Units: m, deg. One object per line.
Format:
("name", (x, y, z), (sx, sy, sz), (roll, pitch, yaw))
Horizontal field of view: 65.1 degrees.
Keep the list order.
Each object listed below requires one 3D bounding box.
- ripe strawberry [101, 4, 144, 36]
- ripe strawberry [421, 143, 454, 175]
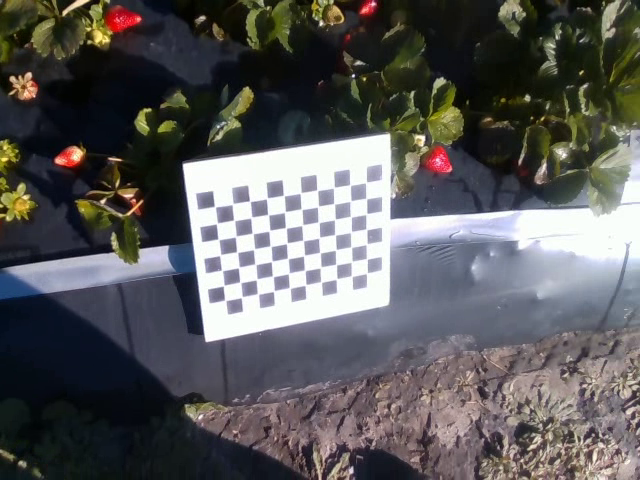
("ripe strawberry", (-0.310, -0.348, 0.783), (0.064, 0.050, 0.052), (1, 22, -2))
("ripe strawberry", (0.189, -0.120, 0.788), (0.054, 0.048, 0.030), (35, 11, -21))
